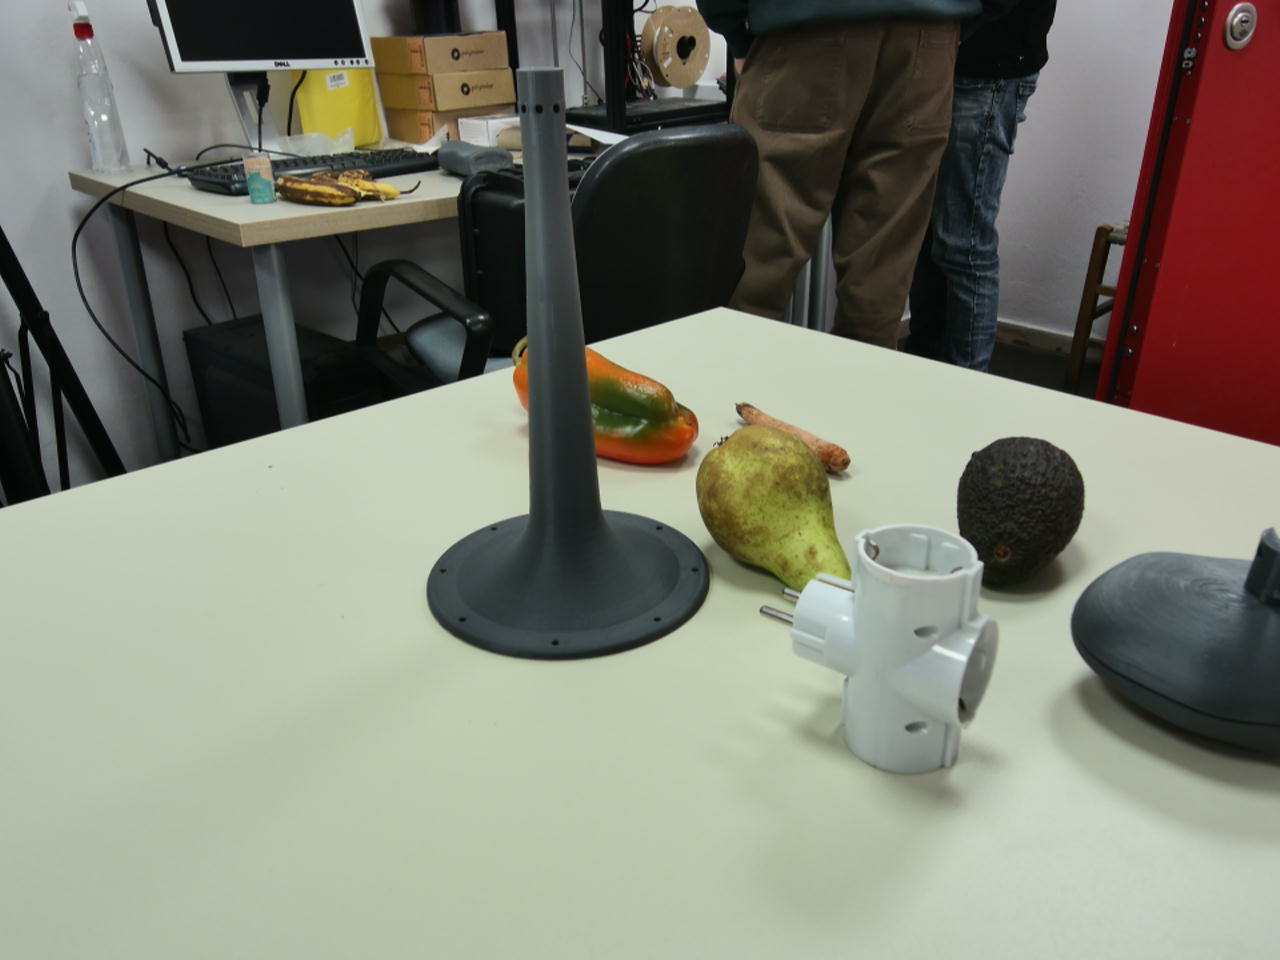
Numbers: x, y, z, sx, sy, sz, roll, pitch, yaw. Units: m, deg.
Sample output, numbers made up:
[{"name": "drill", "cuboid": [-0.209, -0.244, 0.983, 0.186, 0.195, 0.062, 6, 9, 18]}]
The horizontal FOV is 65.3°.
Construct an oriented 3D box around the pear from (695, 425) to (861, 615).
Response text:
[{"name": "pear", "cuboid": [0.086, 0.019, 0.519, 0.071, 0.075, 0.144, -16, 28, -31]}]
